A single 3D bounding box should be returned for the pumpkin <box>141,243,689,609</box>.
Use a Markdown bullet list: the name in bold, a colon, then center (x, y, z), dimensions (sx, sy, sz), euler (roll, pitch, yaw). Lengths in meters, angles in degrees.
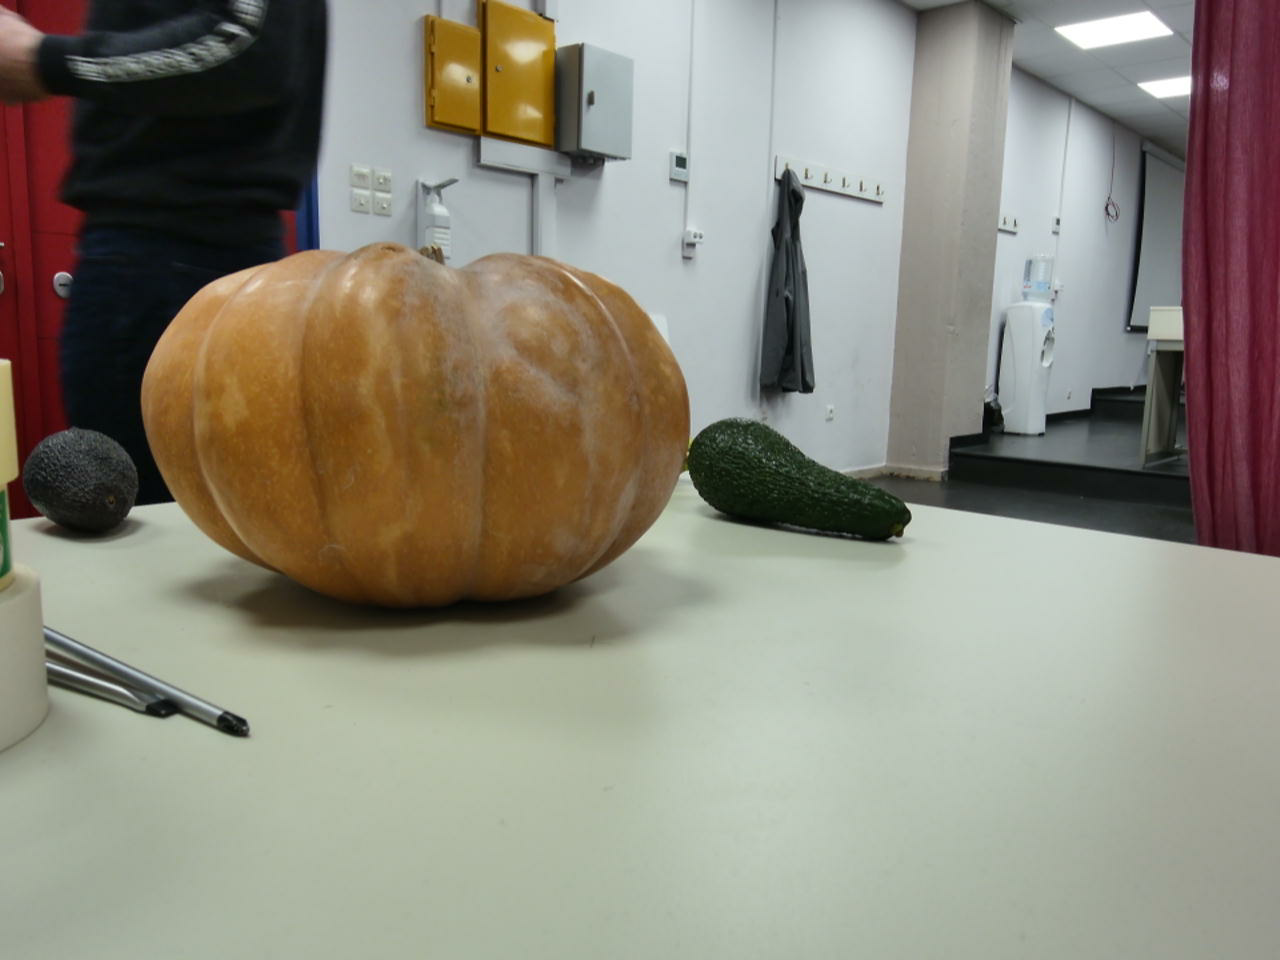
- **pumpkin**: center (-0.111, -0.030, 0.529), dimensions (0.277, 0.181, 0.277), euler (0, 7, 0)
